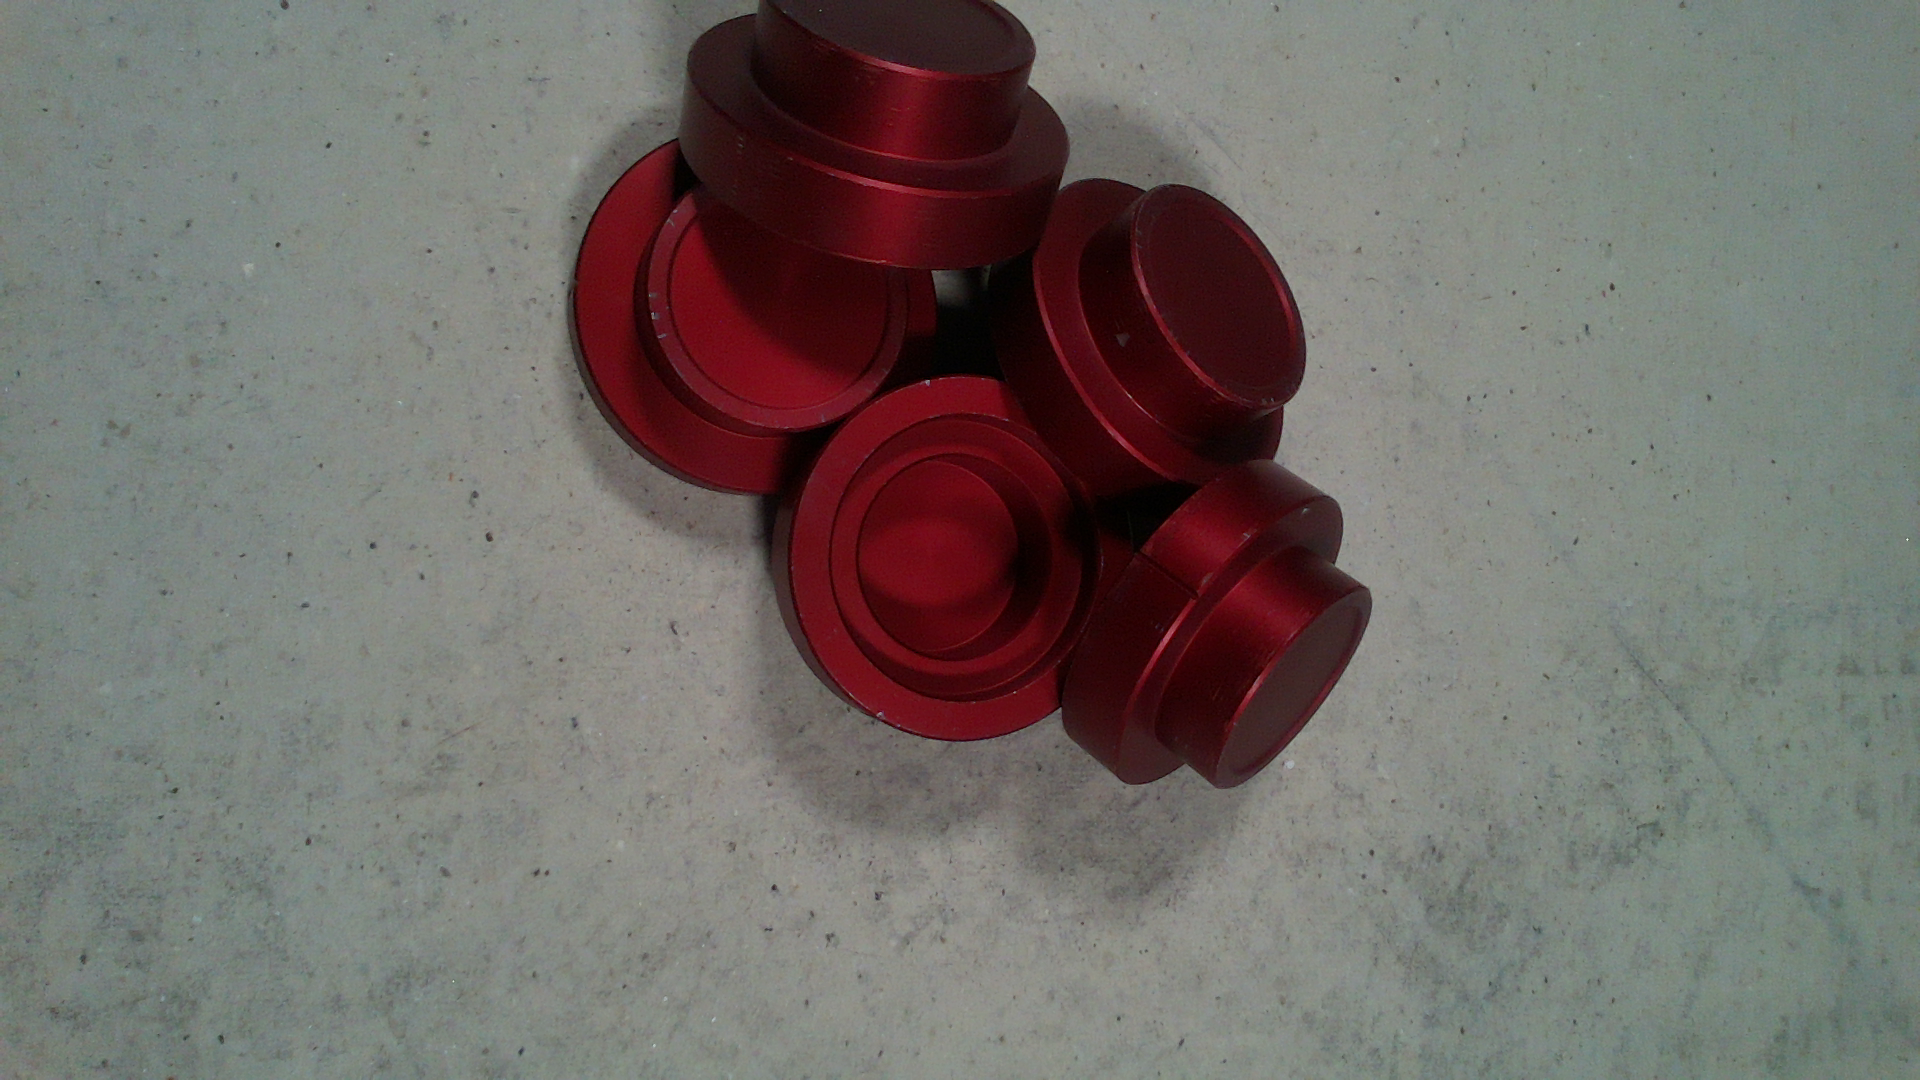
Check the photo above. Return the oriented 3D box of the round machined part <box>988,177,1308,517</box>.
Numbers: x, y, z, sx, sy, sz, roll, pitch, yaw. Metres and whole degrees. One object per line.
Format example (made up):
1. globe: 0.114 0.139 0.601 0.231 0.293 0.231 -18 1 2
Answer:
1. round machined part: 0.058 -0.059 0.383 0.098 0.042 0.098 21 55 -33

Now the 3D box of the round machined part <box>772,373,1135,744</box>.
1. round machined part: -0.004 0.005 0.383 0.098 0.042 0.098 0 90 -20

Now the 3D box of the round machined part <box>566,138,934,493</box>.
1. round machined part: -0.053 -0.061 0.366 0.098 0.042 0.098 0 90 -20

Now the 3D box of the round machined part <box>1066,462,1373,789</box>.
1. round machined part: 0.077 0.030 0.383 0.042 0.098 0.098 38 74 26

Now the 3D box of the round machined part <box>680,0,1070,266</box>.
1. round machined part: -0.019 -0.113 0.347 0.098 0.098 0.042 1 132 -20
